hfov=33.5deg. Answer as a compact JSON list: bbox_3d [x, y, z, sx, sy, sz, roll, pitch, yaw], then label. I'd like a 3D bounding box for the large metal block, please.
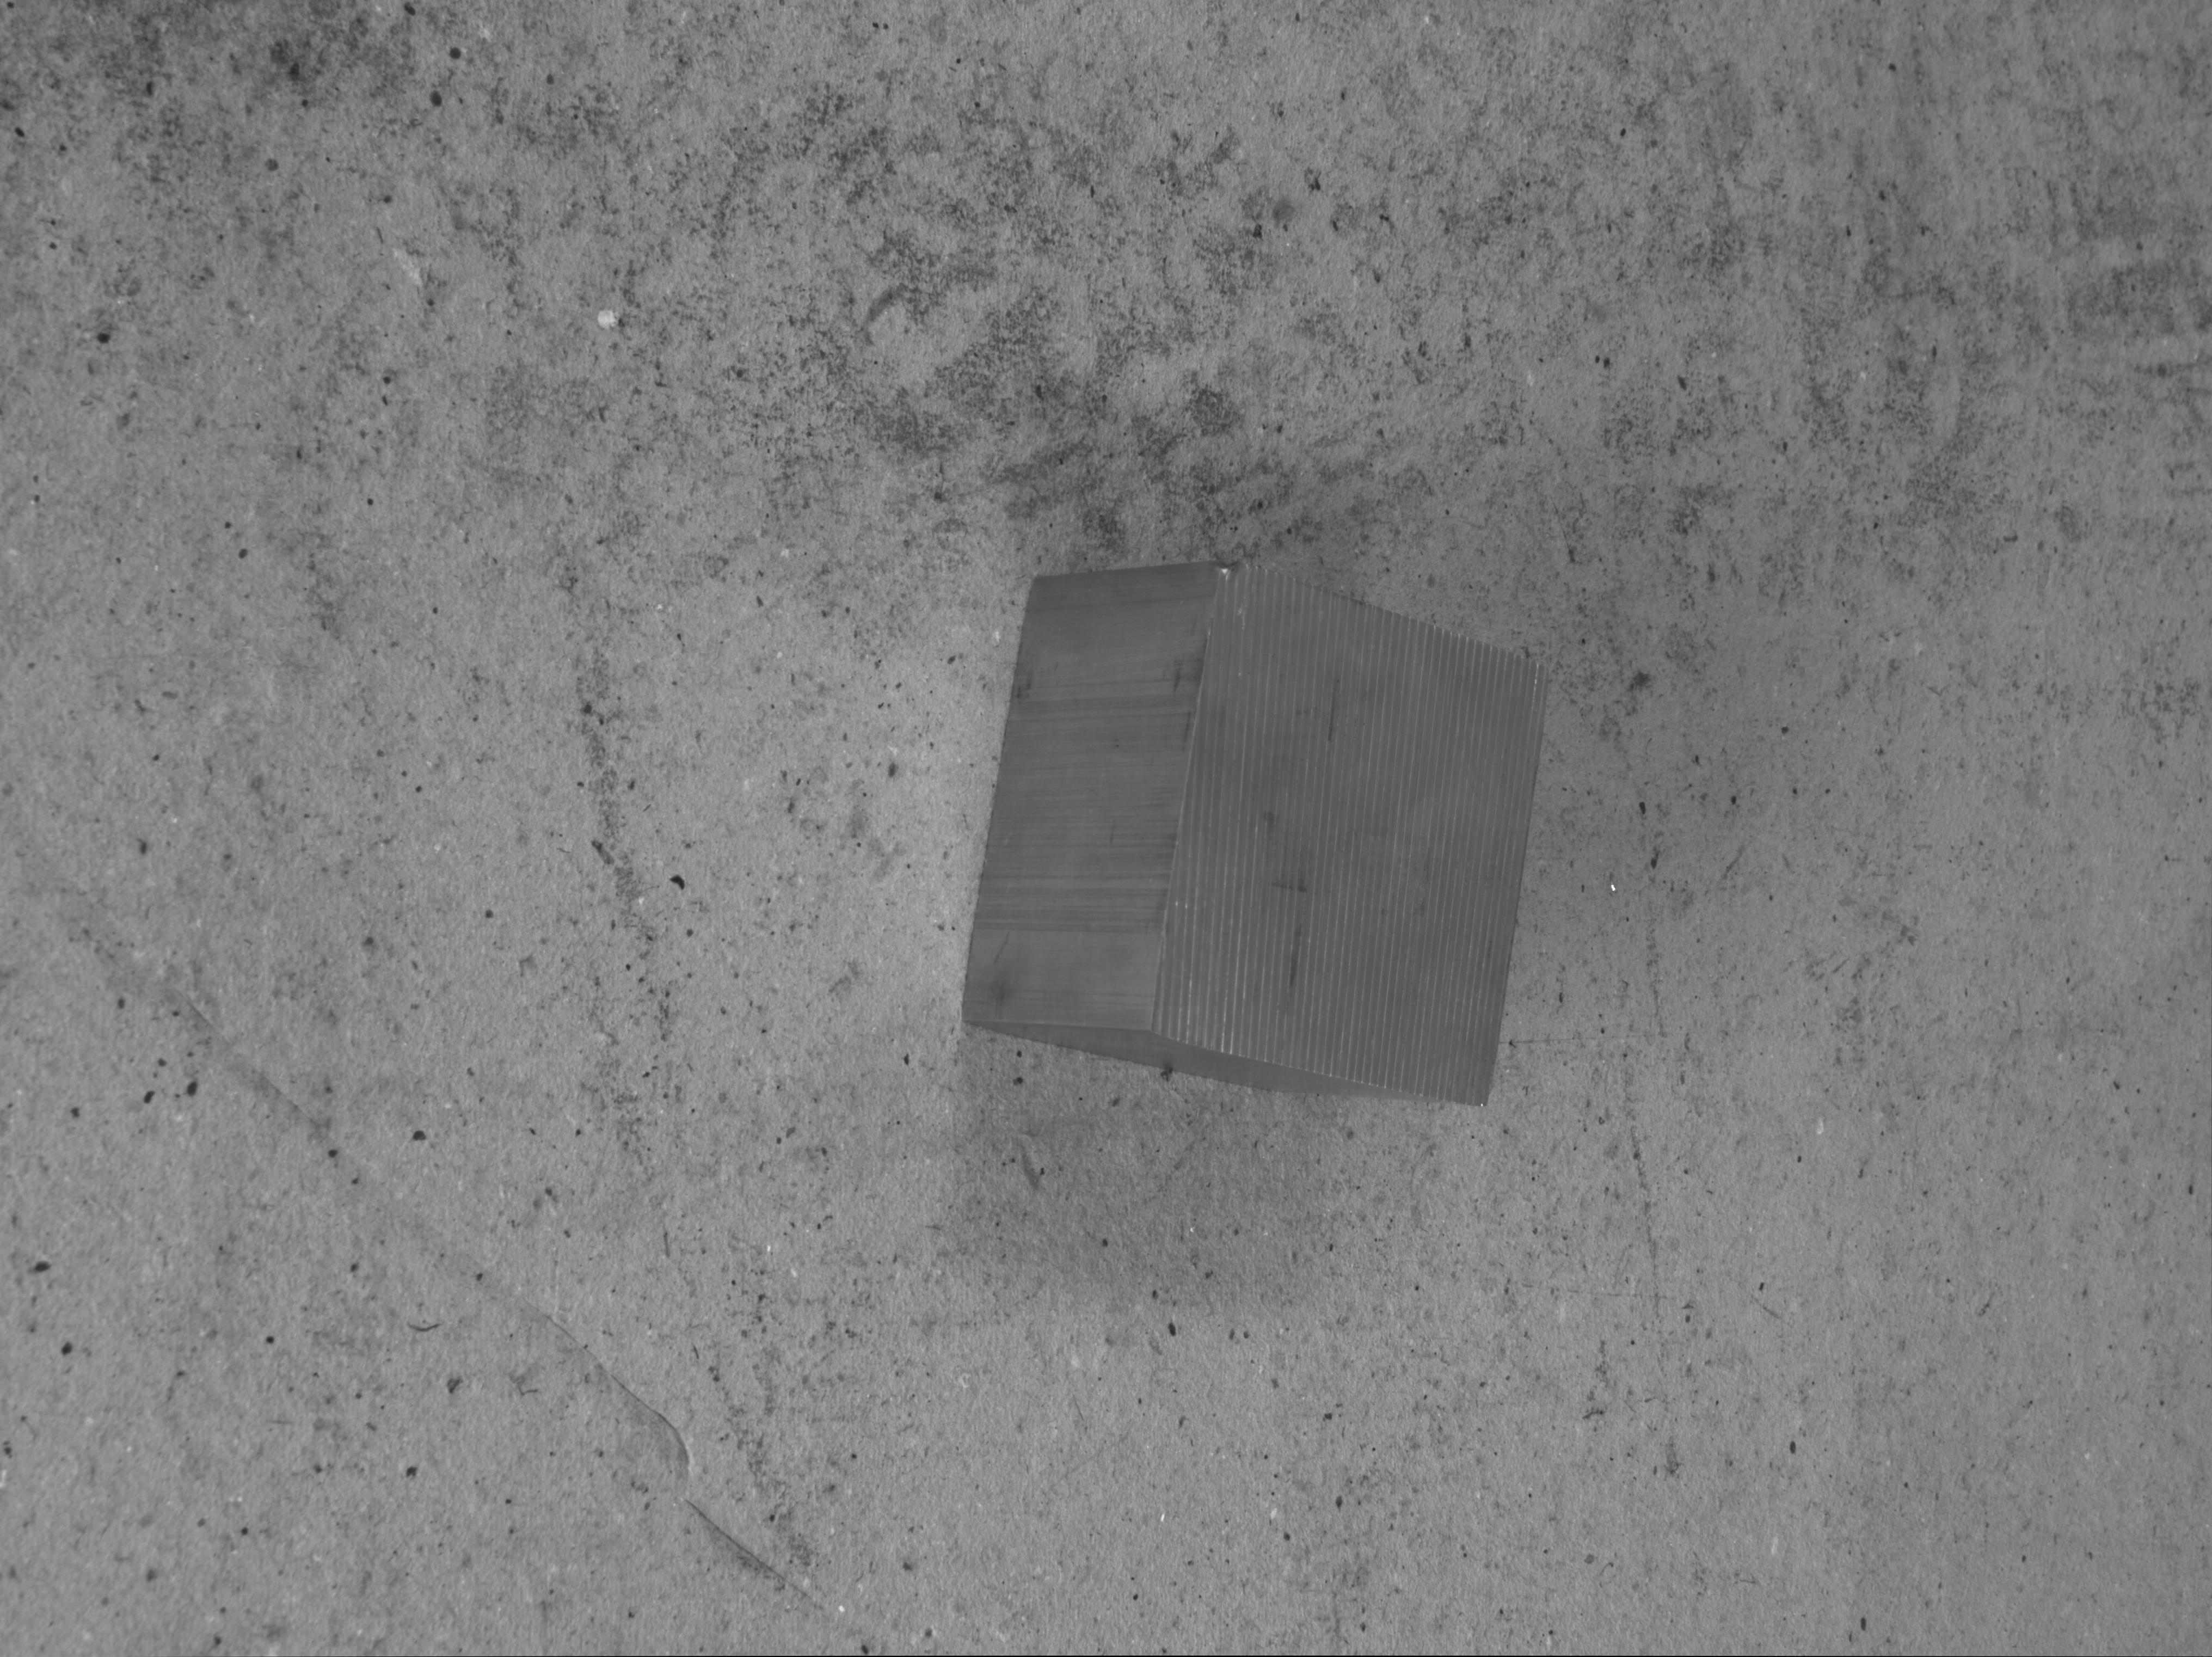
[{"bbox_3d":[0.027,0.002,0.642,0.080,0.050,0.080,15,81,-40],"label":"large metal block"}]
